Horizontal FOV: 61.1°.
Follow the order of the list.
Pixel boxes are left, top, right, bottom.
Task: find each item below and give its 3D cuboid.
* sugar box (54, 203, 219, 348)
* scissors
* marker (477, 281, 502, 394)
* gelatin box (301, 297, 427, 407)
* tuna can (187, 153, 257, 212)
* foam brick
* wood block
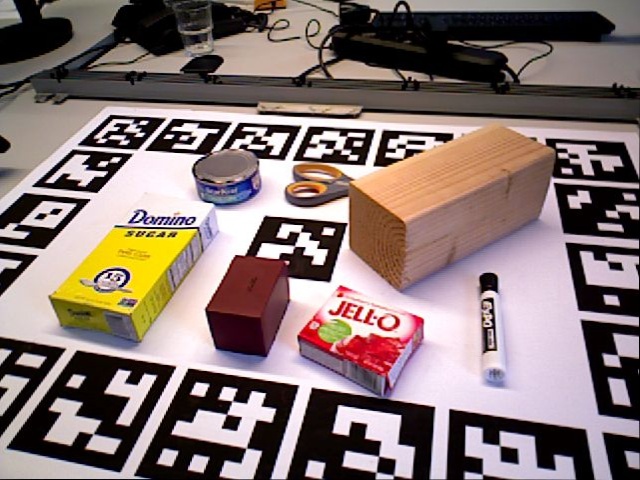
[{"bbox_3d":[-0.186,0.030,0.578,0.093,0.046,0.172,9,43,15],"label":"sugar box"},{"bbox_3d":[0.046,-0.055,0.668,0.203,0.016,0.085,9,43,20],"label":"scissors"},{"bbox_3d":[0.154,0.083,0.490,0.020,0.020,0.118,6,45,13],"label":"marker"},{"bbox_3d":[0.040,0.096,0.484,0.090,0.031,0.071,19,47,26],"label":"gelatin box"},{"bbox_3d":[-0.124,-0.074,0.693,0.085,0.034,0.084,-4,41,3],"label":"tuna can"},{"bbox_3d":[-0.060,0.070,0.504,0.053,0.052,0.076,6,43,14],"label":"foam brick"},{"bbox_3d":[0.145,-0.030,0.574,0.202,0.093,0.089,-25,44,-22],"label":"wood block"}]
